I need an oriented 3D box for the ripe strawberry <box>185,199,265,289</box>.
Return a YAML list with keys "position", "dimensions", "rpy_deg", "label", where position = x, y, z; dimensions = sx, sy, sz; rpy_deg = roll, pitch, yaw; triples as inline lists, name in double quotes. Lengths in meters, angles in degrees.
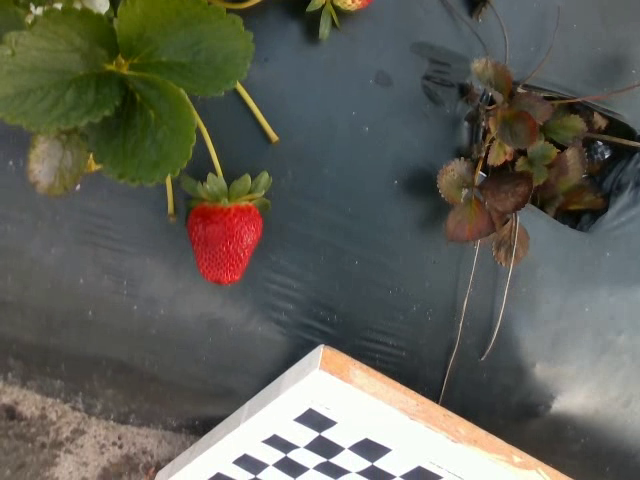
- position: [-0.054, 0.002, 0.333]
  dimensions: [0.046, 0.054, 0.042]
  rpy_deg: [-3, -21, 20]
  label: "ripe strawberry"
